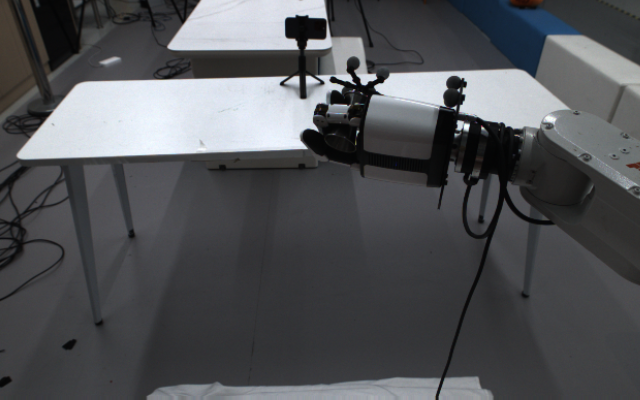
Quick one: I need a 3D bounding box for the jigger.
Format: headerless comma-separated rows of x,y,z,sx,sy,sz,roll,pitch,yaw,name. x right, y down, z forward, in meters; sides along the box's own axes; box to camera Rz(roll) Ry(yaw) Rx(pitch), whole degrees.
0.037,-0.104,0.621,0.043,0.043,0.071,16,70,19,jigger
